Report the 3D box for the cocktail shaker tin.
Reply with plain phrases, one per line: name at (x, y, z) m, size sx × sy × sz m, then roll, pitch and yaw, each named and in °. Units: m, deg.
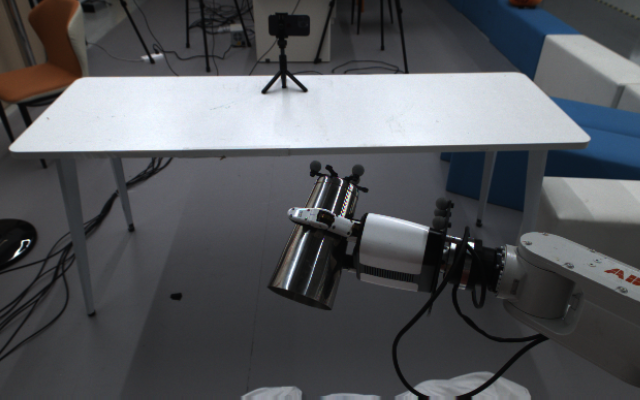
cocktail shaker tin at (-0.002, 0.056, 0.671) m, size 0.093 × 0.093 × 0.170 m, roll 14°, pitch 70°, yaw 16°
